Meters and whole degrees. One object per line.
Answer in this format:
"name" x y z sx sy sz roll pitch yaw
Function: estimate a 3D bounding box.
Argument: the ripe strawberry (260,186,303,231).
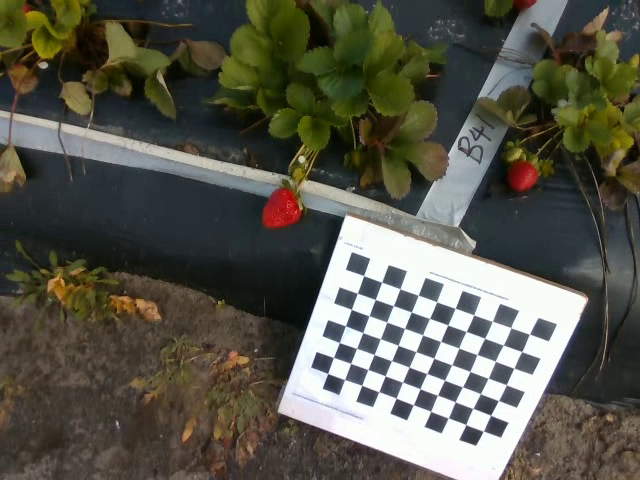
"ripe strawberry" -0.045 -0.032 0.645 0.053 0.048 0.030 -36 10 -11

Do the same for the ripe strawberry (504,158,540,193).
"ripe strawberry" 0.220 -0.065 0.648 0.037 0.047 0.030 32 -37 -1
